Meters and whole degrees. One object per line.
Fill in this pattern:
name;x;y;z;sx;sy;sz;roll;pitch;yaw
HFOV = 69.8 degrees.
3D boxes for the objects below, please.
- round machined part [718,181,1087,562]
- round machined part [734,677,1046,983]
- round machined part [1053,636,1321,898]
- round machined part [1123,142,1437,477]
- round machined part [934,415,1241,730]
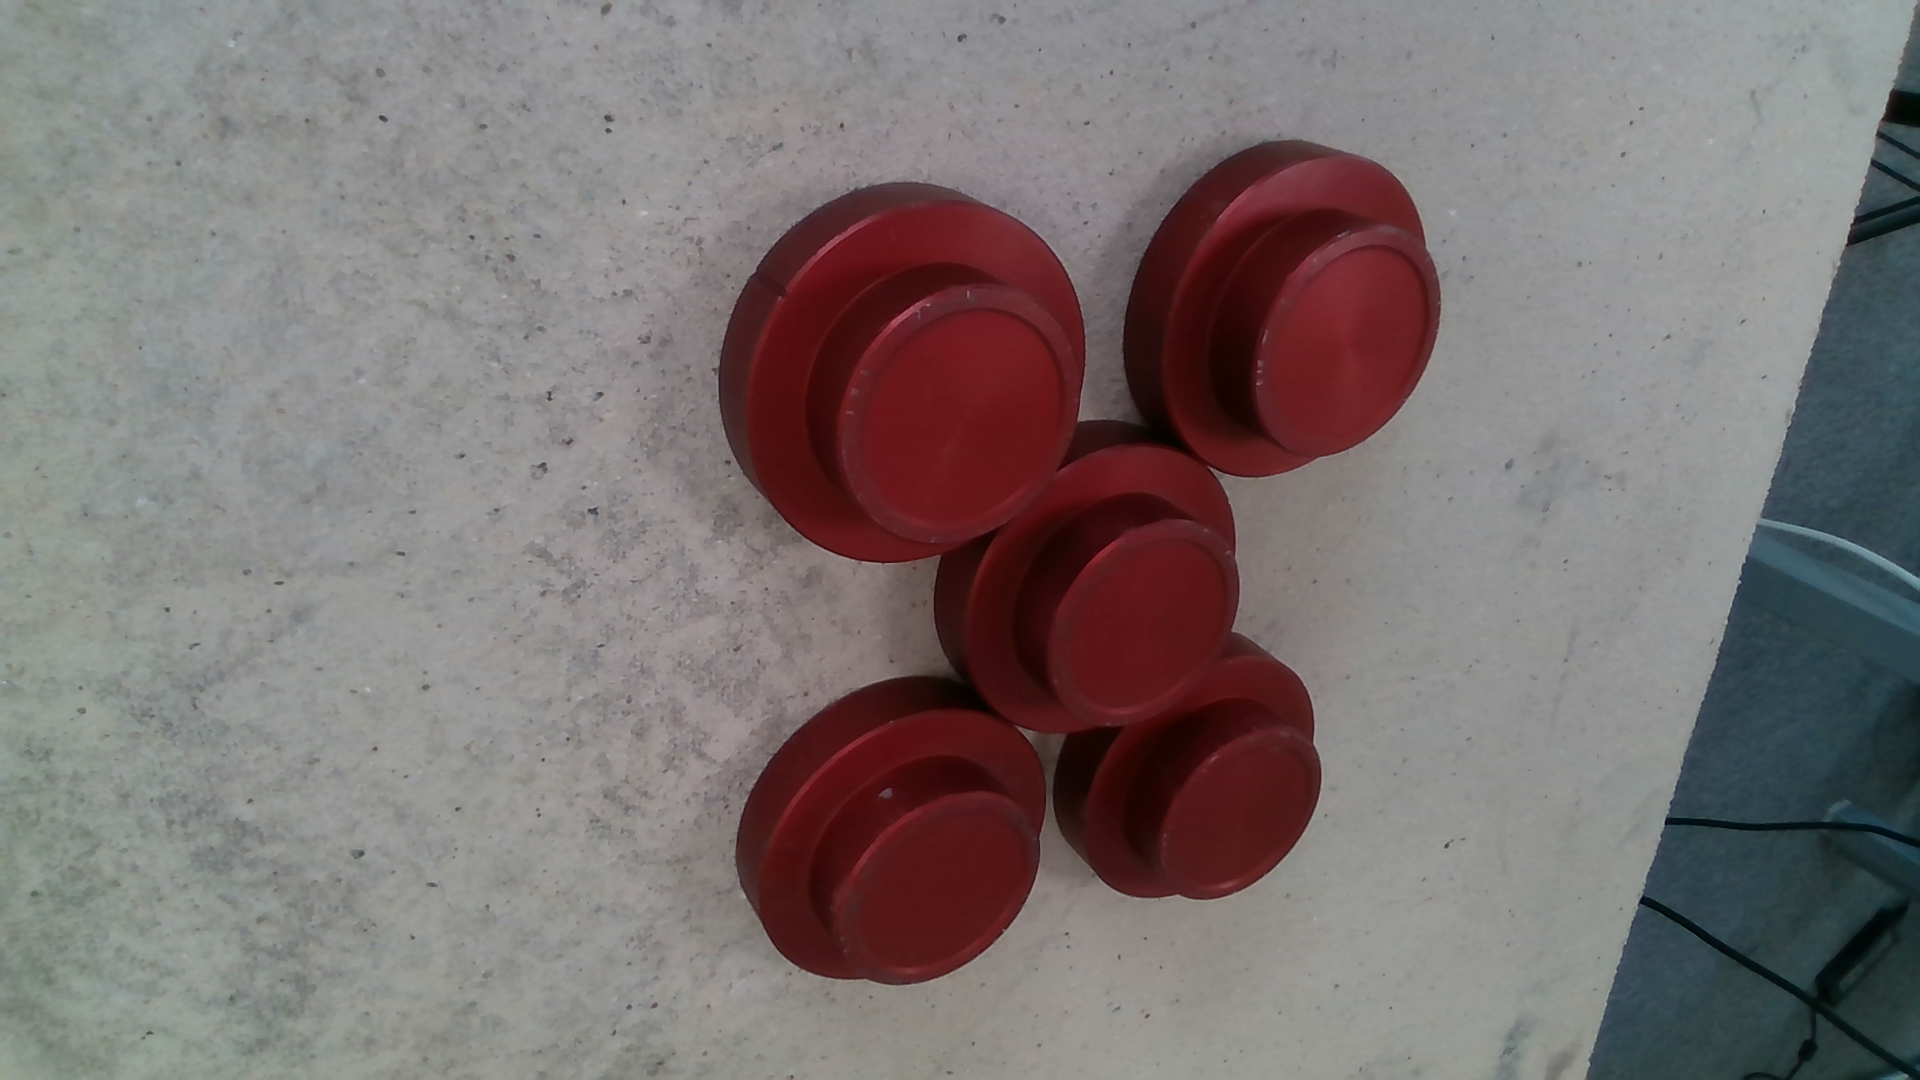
round machined part;-0.008;-0.038;0.353;0.098;0.042;0.098;-14;122;-24
round machined part;-0.016;0.095;0.421;0.098;0.042;0.098;-13;120;-24
round machined part;0.085;0.083;0.475;0.098;0.042;0.098;-13;120;-24
round machined part;0.100;-0.064;0.406;0.098;0.042;0.098;-14;122;-25
round machined part;0.045;0.015;0.415;0.098;0.042;0.098;-13;120;-24
